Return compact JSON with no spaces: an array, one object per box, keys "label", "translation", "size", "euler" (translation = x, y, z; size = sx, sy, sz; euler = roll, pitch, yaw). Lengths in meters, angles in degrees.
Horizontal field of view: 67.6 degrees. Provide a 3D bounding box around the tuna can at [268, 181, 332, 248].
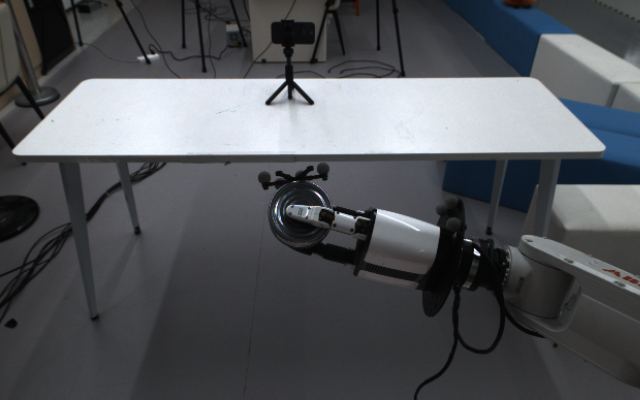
[{"label":"tuna can","translation":[-0.023,0.017,0.633],"size":[0.085,0.034,0.085],"euler":[0,72,-1]}]
